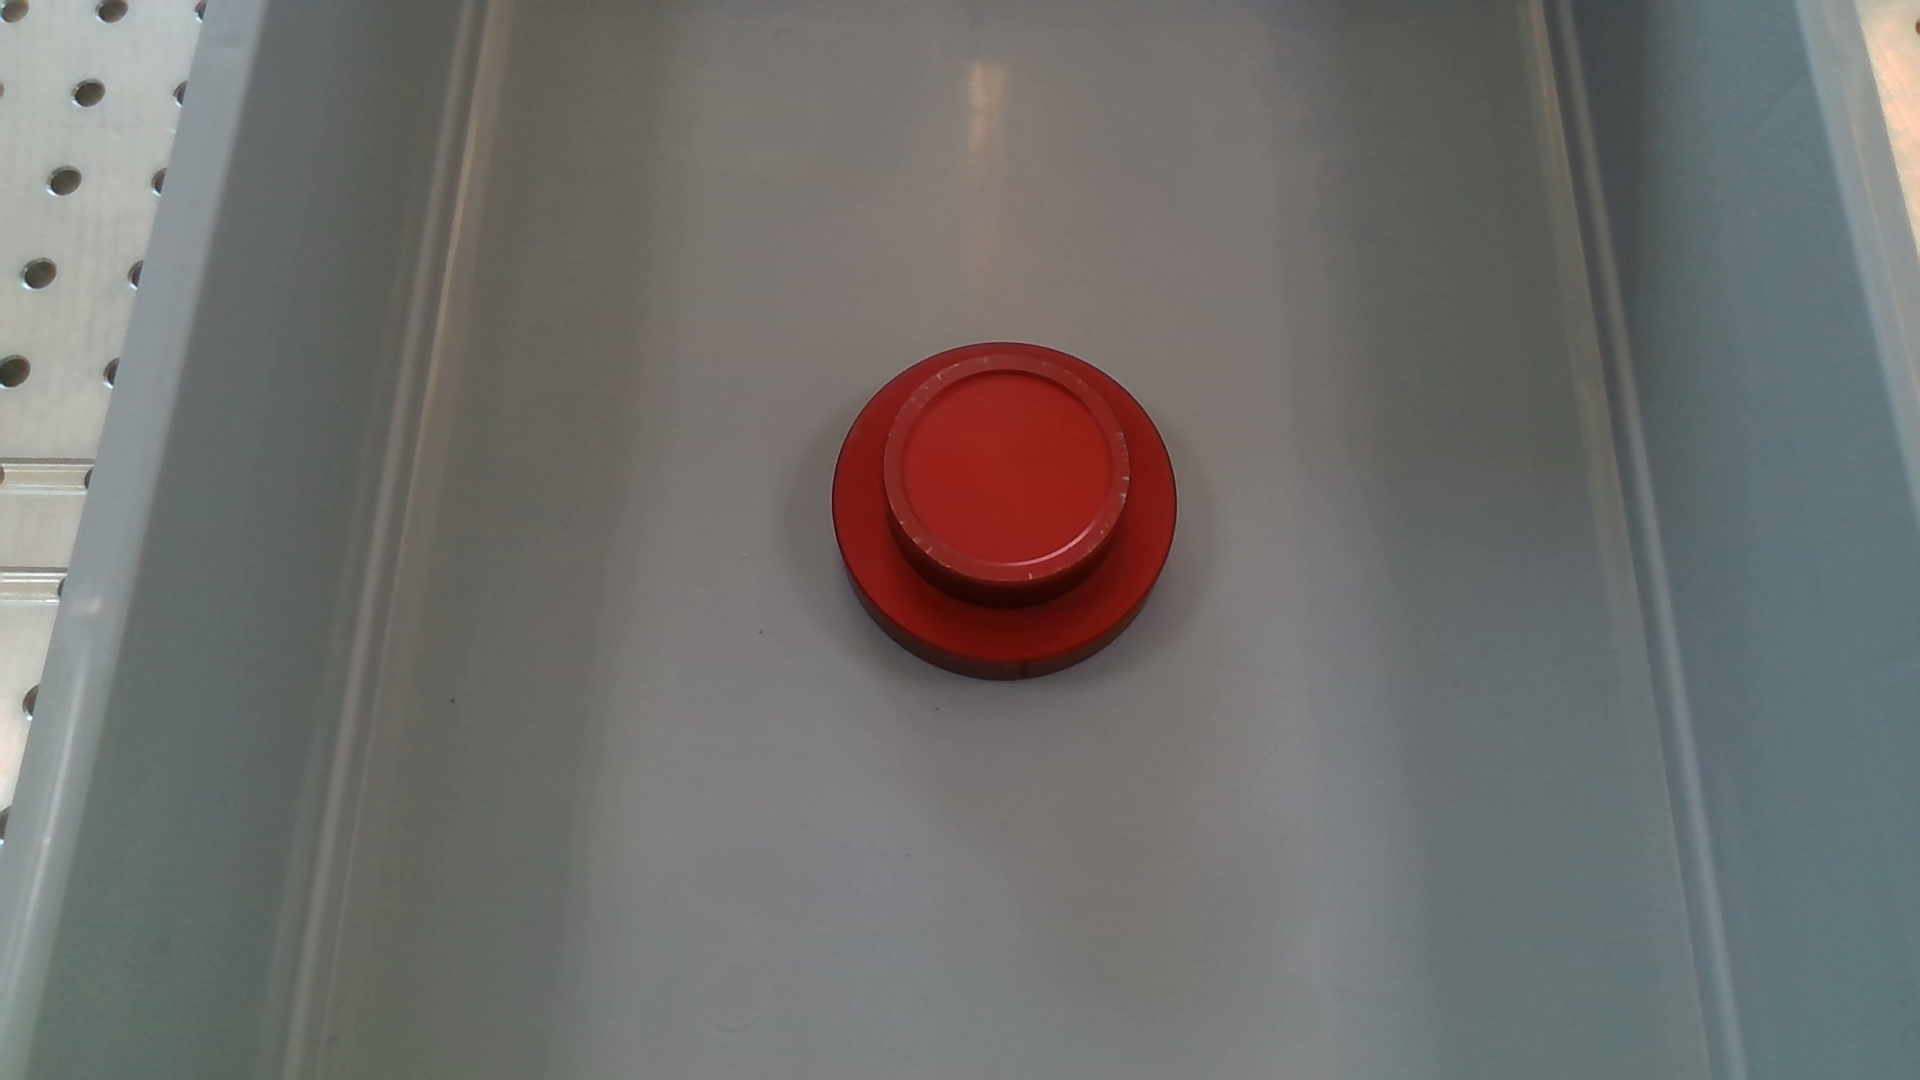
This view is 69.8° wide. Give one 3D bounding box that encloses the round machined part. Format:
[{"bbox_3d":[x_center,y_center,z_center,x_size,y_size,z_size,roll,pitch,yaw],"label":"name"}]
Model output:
[{"bbox_3d":[0.012,-0.013,0.388,0.098,0.042,0.098,0,70,0],"label":"round machined part"}]
